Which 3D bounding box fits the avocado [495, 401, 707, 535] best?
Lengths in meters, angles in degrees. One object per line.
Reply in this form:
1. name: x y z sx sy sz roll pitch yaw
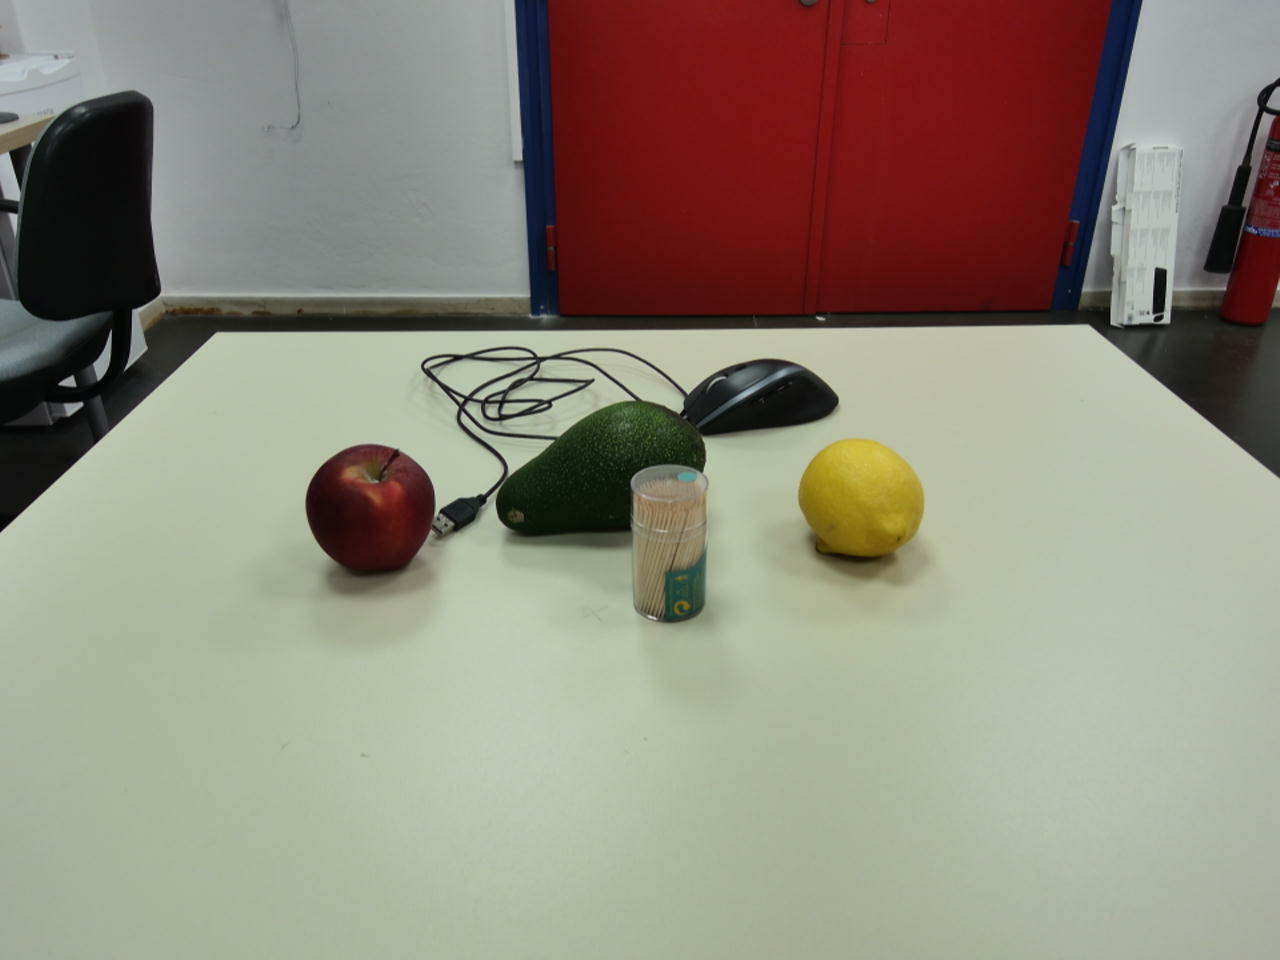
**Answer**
1. avocado: -0.021 -0.011 0.595 0.123 0.076 0.074 2 26 5
